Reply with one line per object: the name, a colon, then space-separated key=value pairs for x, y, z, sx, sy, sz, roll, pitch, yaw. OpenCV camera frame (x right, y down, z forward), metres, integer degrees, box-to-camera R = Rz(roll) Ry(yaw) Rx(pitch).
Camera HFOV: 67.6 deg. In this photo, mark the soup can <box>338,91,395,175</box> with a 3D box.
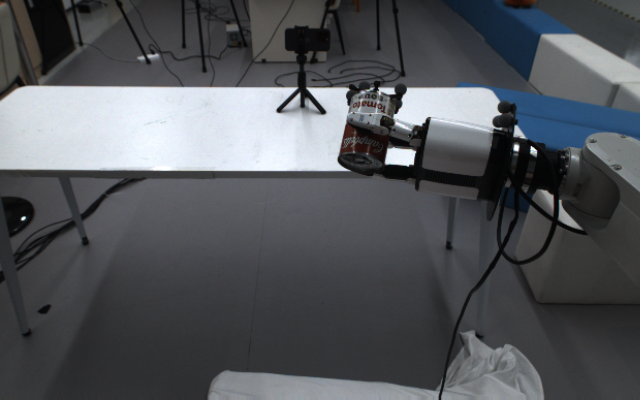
soup can: x=0.068 y=-0.099 z=0.695 sx=0.067 sy=0.067 sz=0.101 roll=9 pitch=72 yaw=10
